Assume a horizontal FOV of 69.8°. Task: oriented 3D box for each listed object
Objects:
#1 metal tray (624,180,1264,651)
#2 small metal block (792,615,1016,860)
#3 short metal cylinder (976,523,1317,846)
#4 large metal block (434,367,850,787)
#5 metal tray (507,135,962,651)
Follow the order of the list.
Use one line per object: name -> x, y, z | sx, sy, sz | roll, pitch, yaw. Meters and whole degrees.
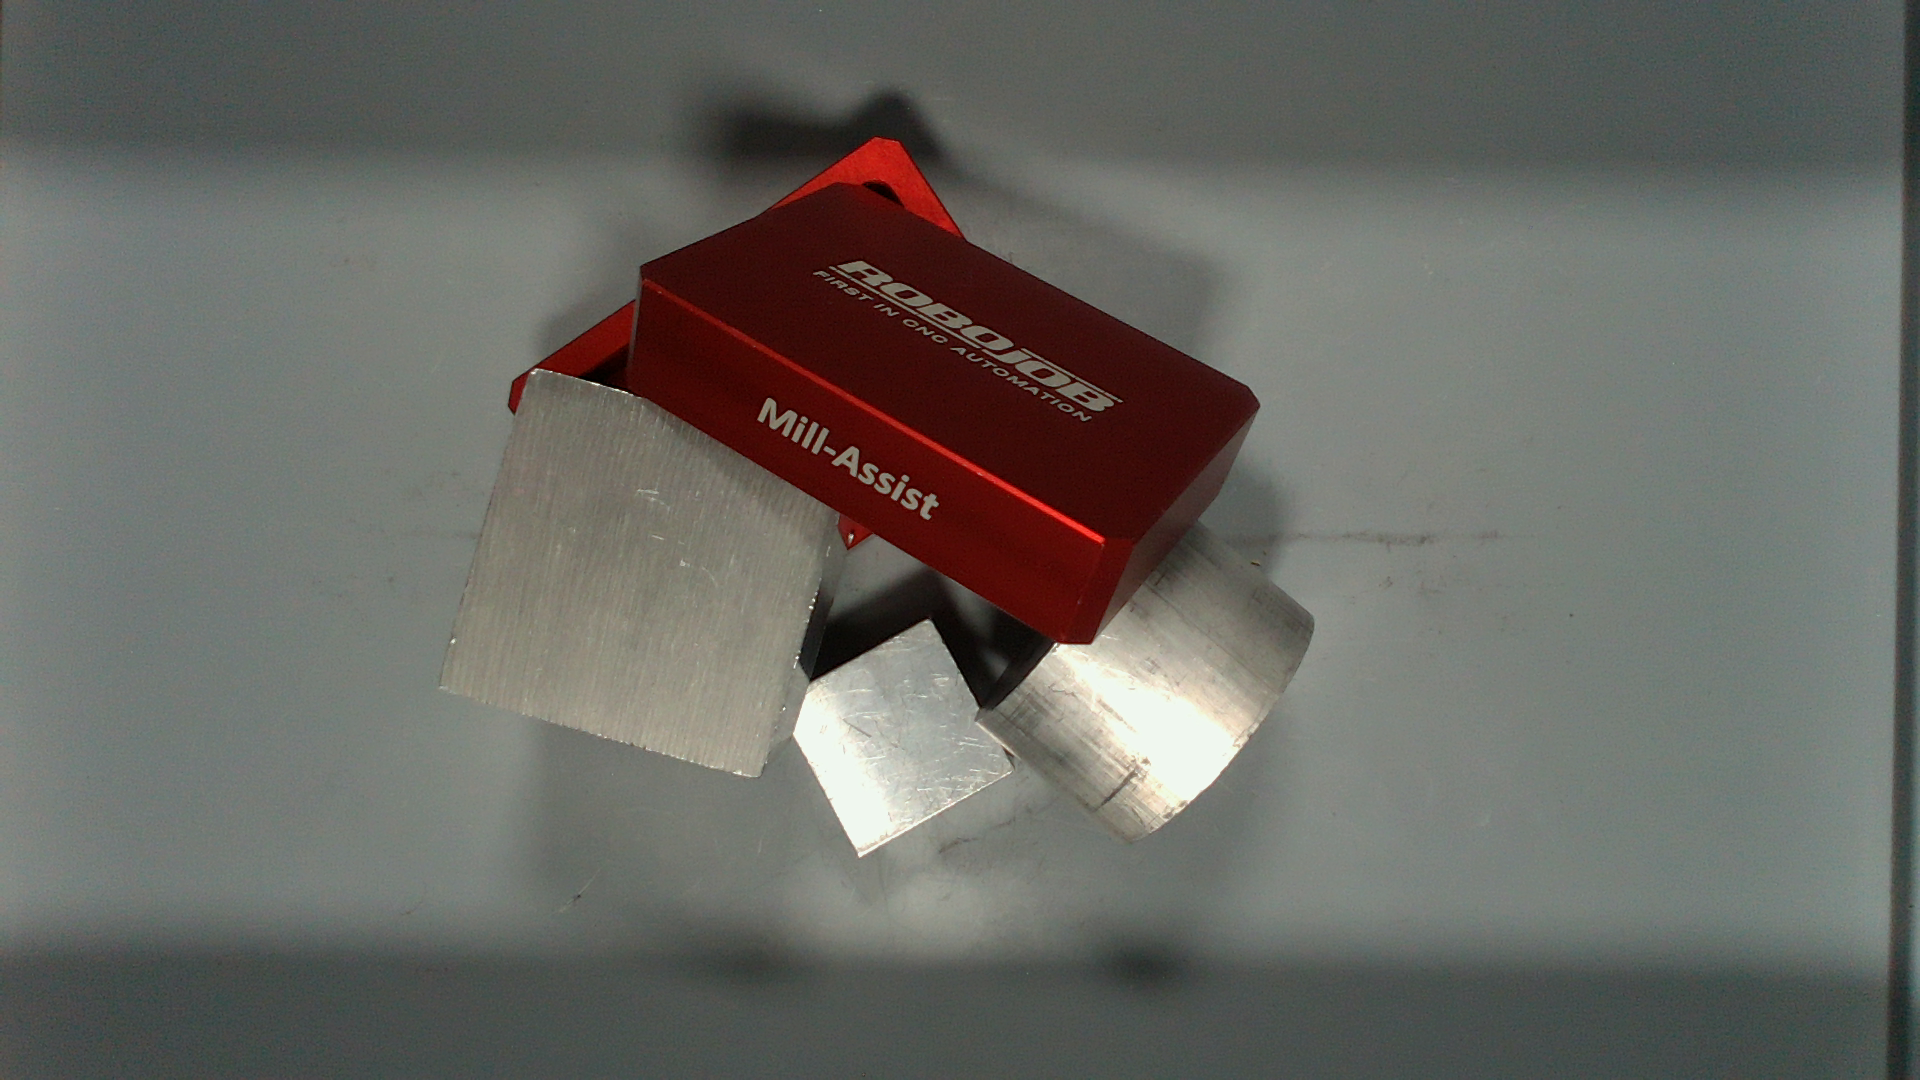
metal tray -> -0.002, -0.036, 0.332 | 0.130, 0.090, 0.030 | 30, 129, 14
small metal block -> -0.018, 0.055, 0.395 | 0.050, 0.025, 0.050 | -29, 90, 0
short metal cylinder -> 0.049, 0.034, 0.368 | 0.050, 0.080, 0.080 | 39, 90, 0
large metal block -> -0.074, 0.009, 0.349 | 0.080, 0.050, 0.080 | 16, 90, 0
metal tray -> -0.048, -0.040, 0.391 | 0.130, 0.030, 0.090 | -34, 90, 0
